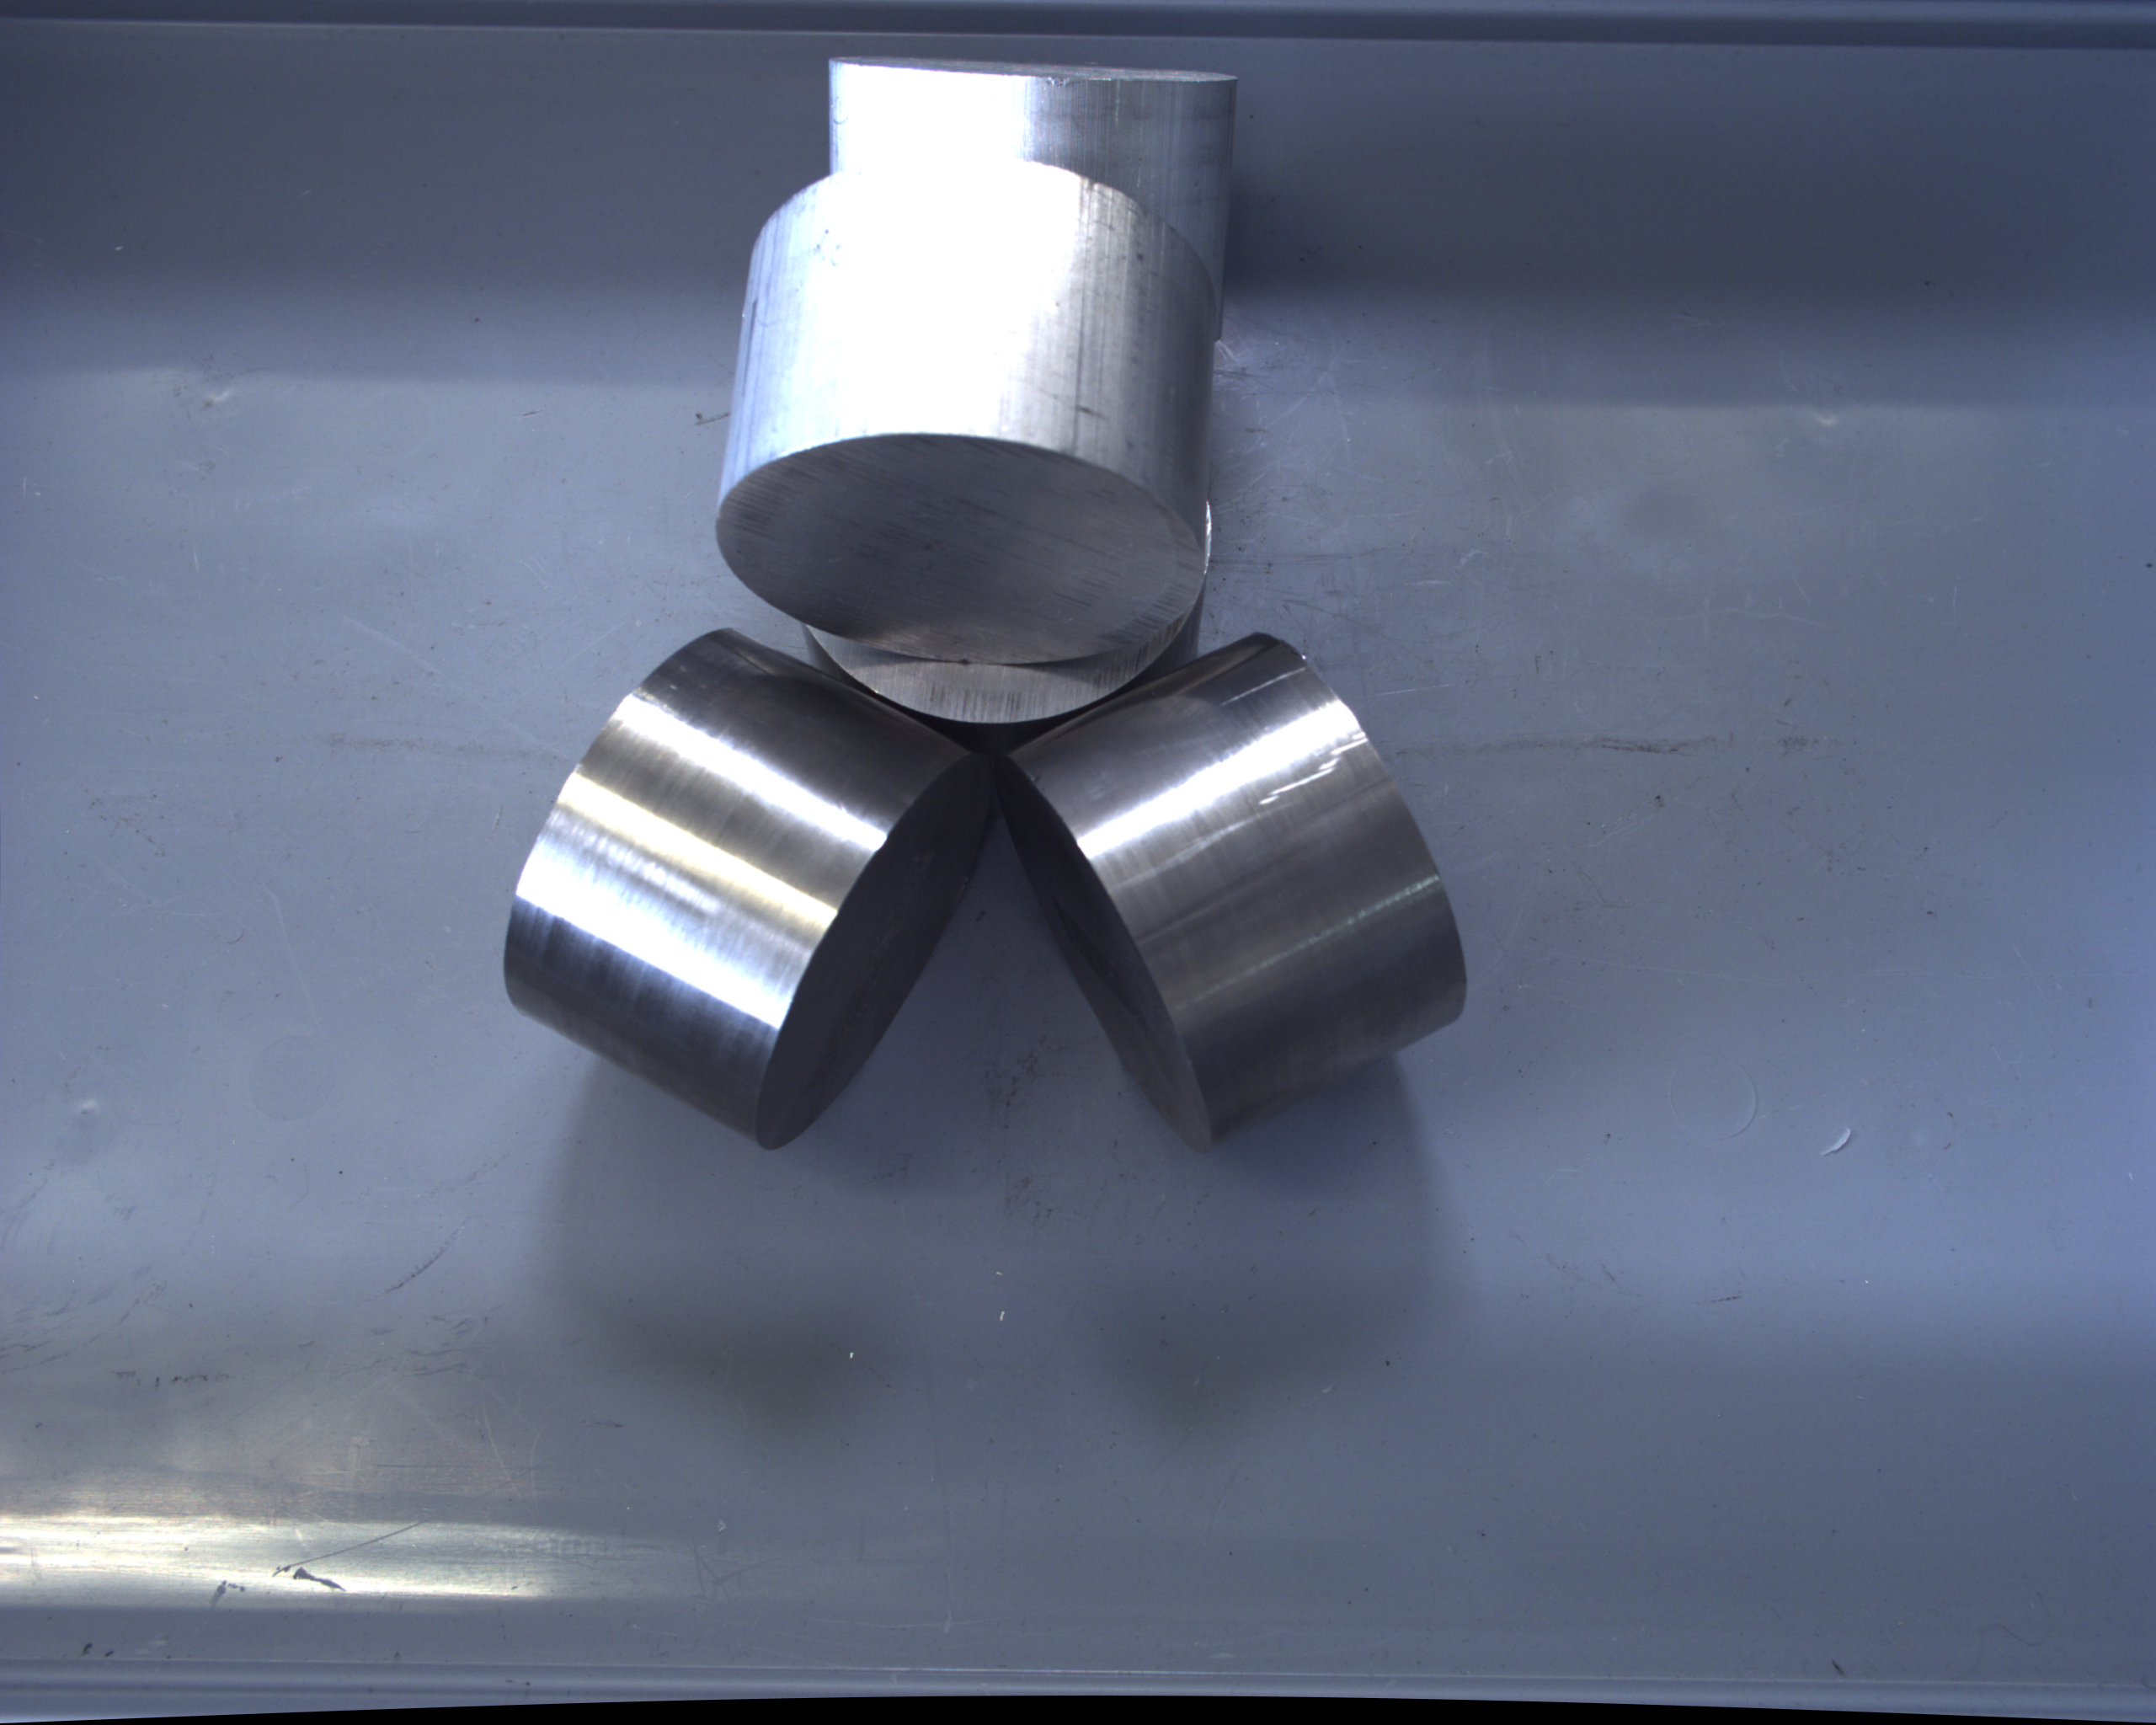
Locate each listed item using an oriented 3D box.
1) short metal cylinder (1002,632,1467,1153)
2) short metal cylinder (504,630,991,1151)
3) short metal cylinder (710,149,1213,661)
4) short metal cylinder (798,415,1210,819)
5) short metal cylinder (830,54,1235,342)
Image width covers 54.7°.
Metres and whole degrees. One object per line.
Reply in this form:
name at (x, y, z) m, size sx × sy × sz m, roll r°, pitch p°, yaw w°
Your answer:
short metal cylinder at (0.027, 0.005, 0.377) m, size 0.050 × 0.080 × 0.080 m, roll -27°, pitch 73°, yaw -9°
short metal cylinder at (-0.058, 0.005, 0.376) m, size 0.050 × 0.080 × 0.080 m, roll 28°, pitch 72°, yaw 10°
short metal cylinder at (-0.018, -0.074, 0.352) m, size 0.080 × 0.080 × 0.050 m, roll 3°, pitch 70°, yaw 1°
short metal cylinder at (-0.015, -0.055, 0.413) m, size 0.081 × 0.050 × 0.080 m, roll 0°, pitch 70°, yaw 0°
short metal cylinder at (-0.010, -0.134, 0.421) m, size 0.080 × 0.080 × 0.050 m, roll 4°, pitch 113°, yaw 1°
